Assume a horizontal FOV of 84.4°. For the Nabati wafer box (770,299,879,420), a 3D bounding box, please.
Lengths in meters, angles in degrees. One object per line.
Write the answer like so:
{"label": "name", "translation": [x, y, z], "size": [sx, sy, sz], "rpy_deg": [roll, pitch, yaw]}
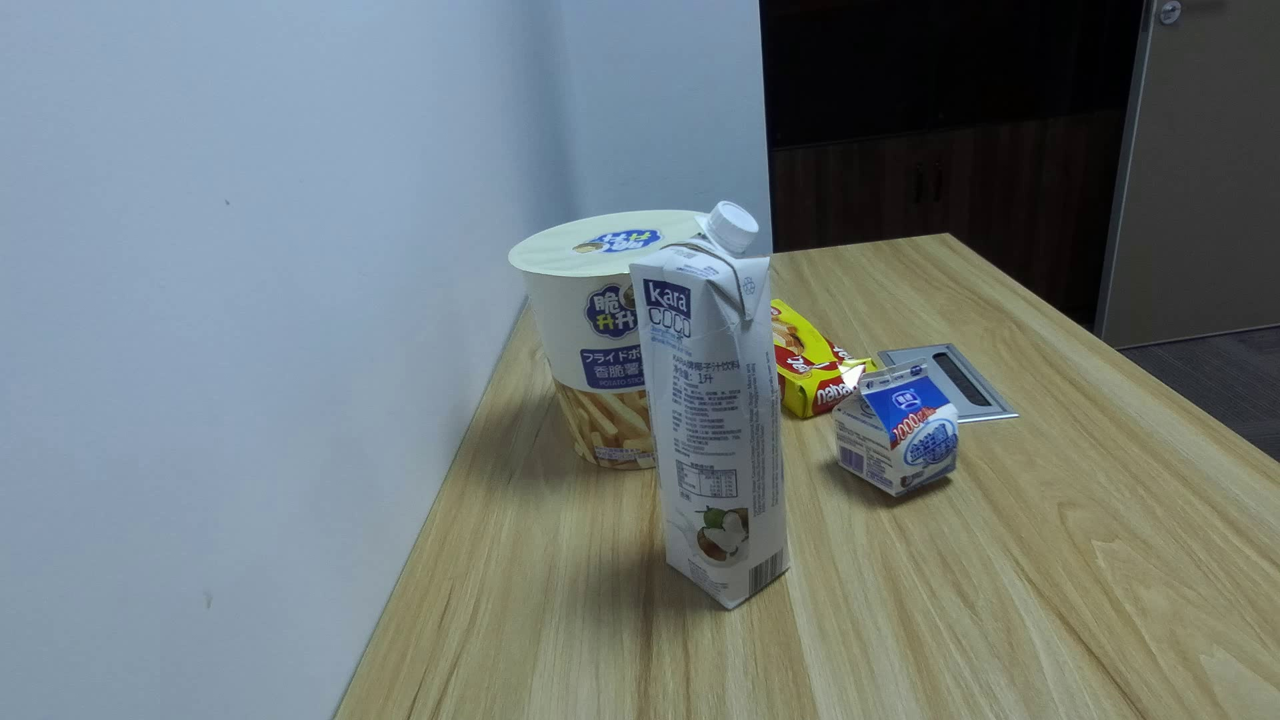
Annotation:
{"label": "Nabati wafer box", "translation": [0.165, -0.007, 0.762], "size": [0.107, 0.042, 0.203], "rpy_deg": [-15, 27, -15]}

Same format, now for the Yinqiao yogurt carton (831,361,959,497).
{"label": "Yinqiao yogurt carton", "translation": [0.207, 0.048, 0.564], "size": [0.075, 0.097, 0.080], "rpy_deg": [-16, 17, -21]}

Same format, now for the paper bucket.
{"label": "paper bucket", "translation": [-0.009, -0.020, 0.660], "size": [0.198, 0.195, 0.198], "rpy_deg": [-6, 25, 3]}

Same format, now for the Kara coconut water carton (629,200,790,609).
{"label": "Kara coconut water carton", "translation": [0.051, 0.032, 0.452], "size": [0.078, 0.256, 0.083], "rpy_deg": [-16, 26, -20]}
